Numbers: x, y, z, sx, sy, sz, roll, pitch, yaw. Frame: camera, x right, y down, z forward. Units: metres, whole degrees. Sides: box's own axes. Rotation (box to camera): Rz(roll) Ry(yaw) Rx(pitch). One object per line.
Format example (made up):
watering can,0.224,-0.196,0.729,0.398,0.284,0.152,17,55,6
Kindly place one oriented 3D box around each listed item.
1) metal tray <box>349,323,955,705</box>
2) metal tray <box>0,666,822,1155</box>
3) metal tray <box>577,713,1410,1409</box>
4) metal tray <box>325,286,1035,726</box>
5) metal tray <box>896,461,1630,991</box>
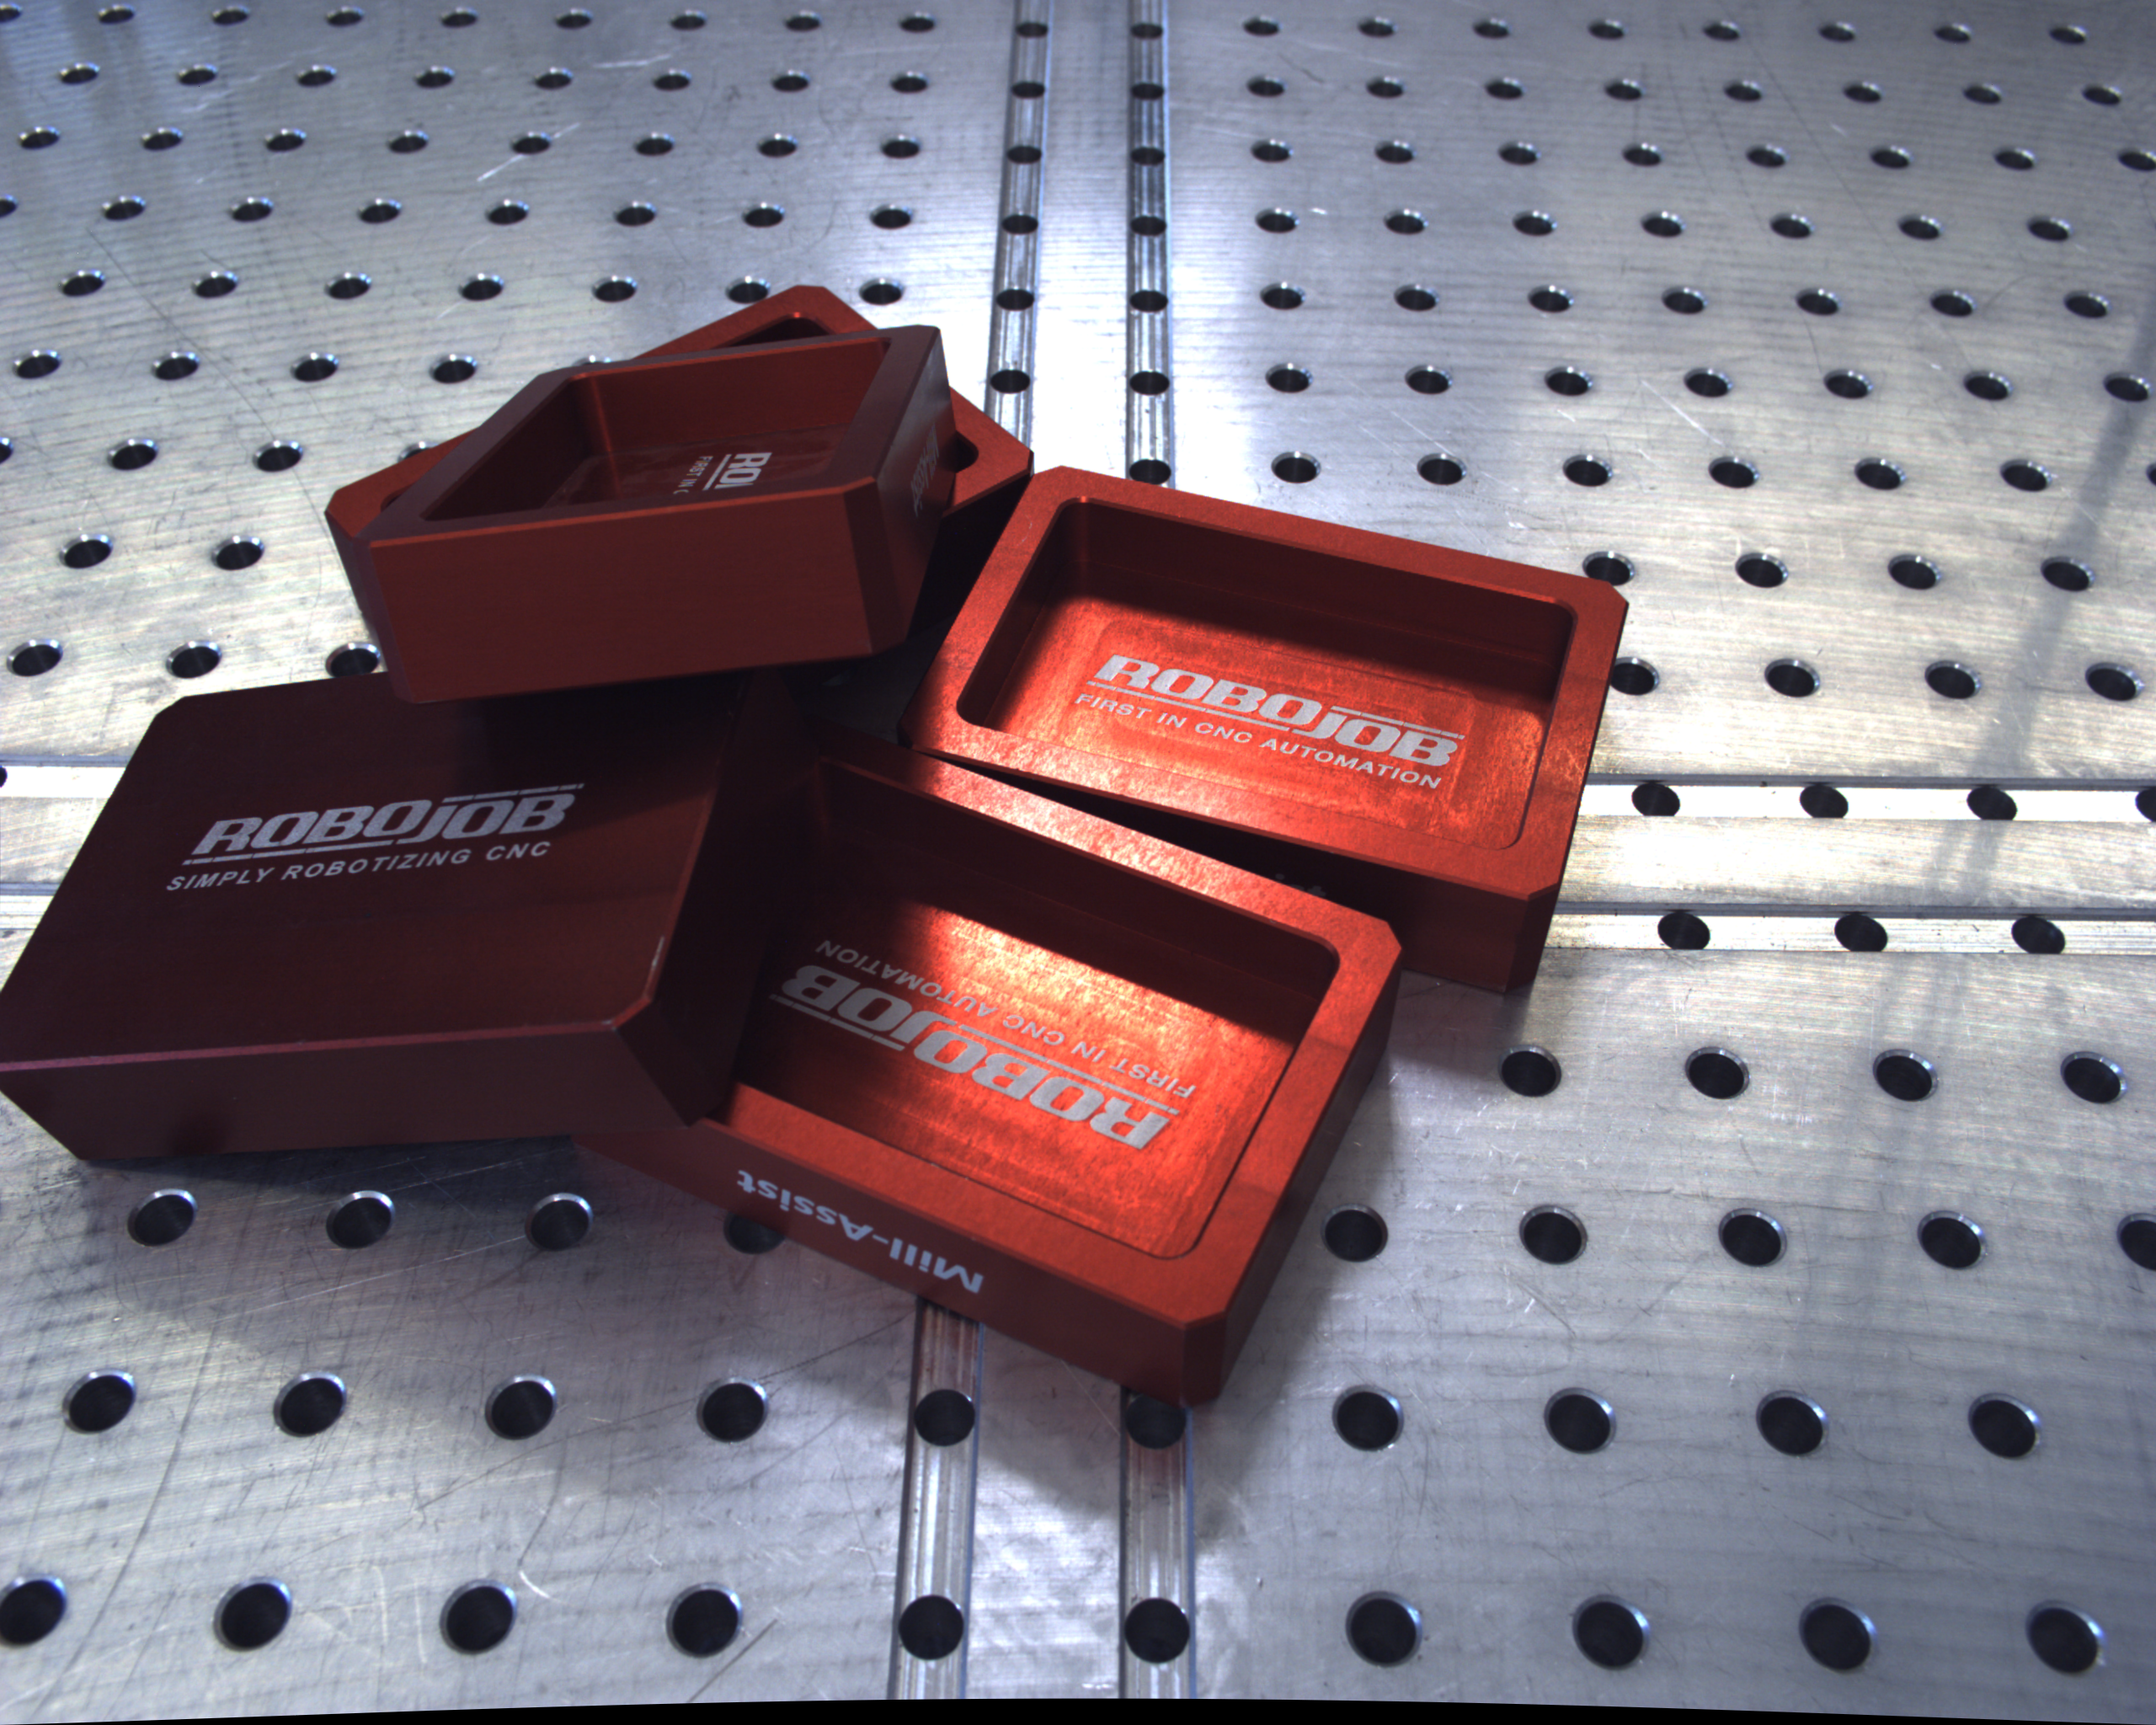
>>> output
metal tray,-0.075,-0.073,0.410,0.090,0.030,0.130,-6,26,5
metal tray,-0.120,0.005,0.377,0.130,0.030,0.090,-4,49,15
metal tray,-0.017,0.031,0.377,0.130,0.030,0.090,20,53,16
metal tray,-0.085,-0.074,0.465,0.131,0.030,0.090,-32,56,-24
metal tray,0.039,-0.032,0.430,0.130,0.030,0.090,14,52,11
